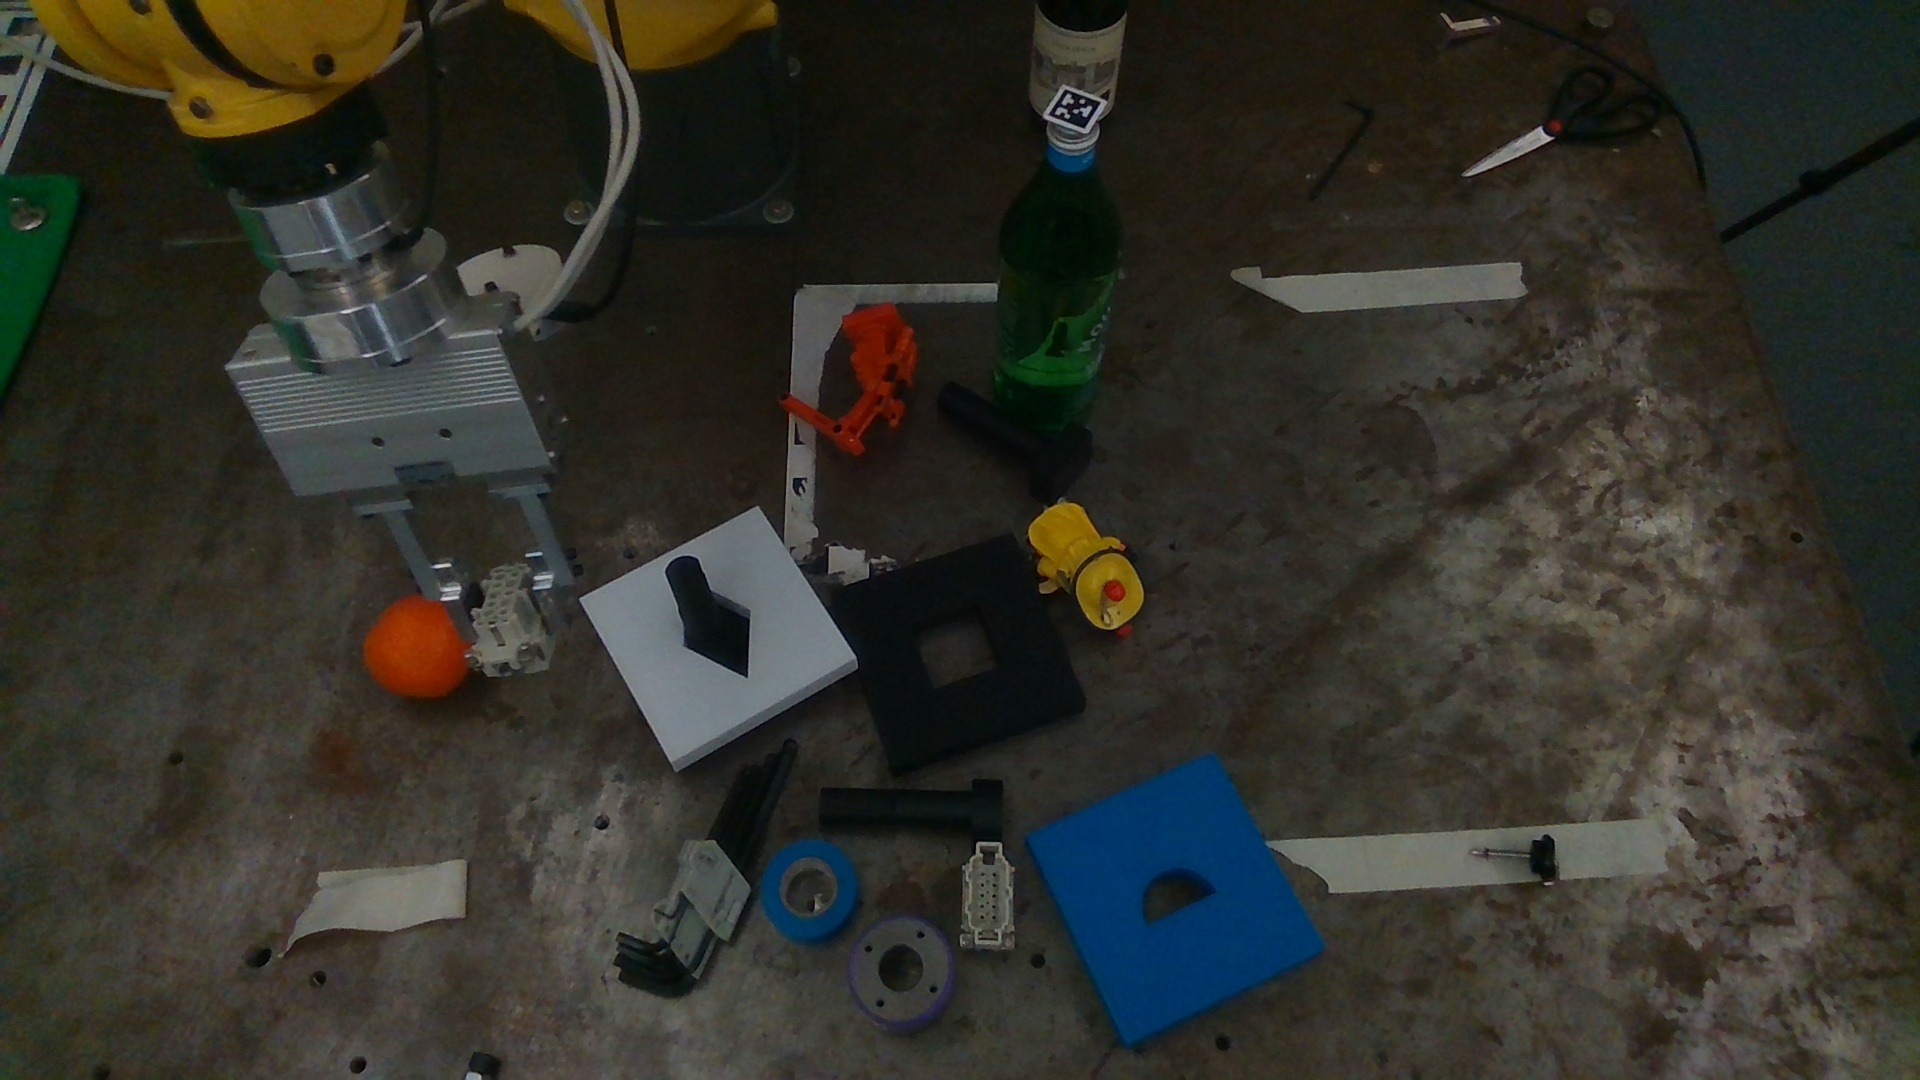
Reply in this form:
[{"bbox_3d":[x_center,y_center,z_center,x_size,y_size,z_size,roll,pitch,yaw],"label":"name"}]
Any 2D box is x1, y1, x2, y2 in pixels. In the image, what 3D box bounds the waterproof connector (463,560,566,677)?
[{"bbox_3d":[-0.234,0.040,0.728,0.037,0.038,0.069,-12,36,8],"label":"waterproof connector"}]
